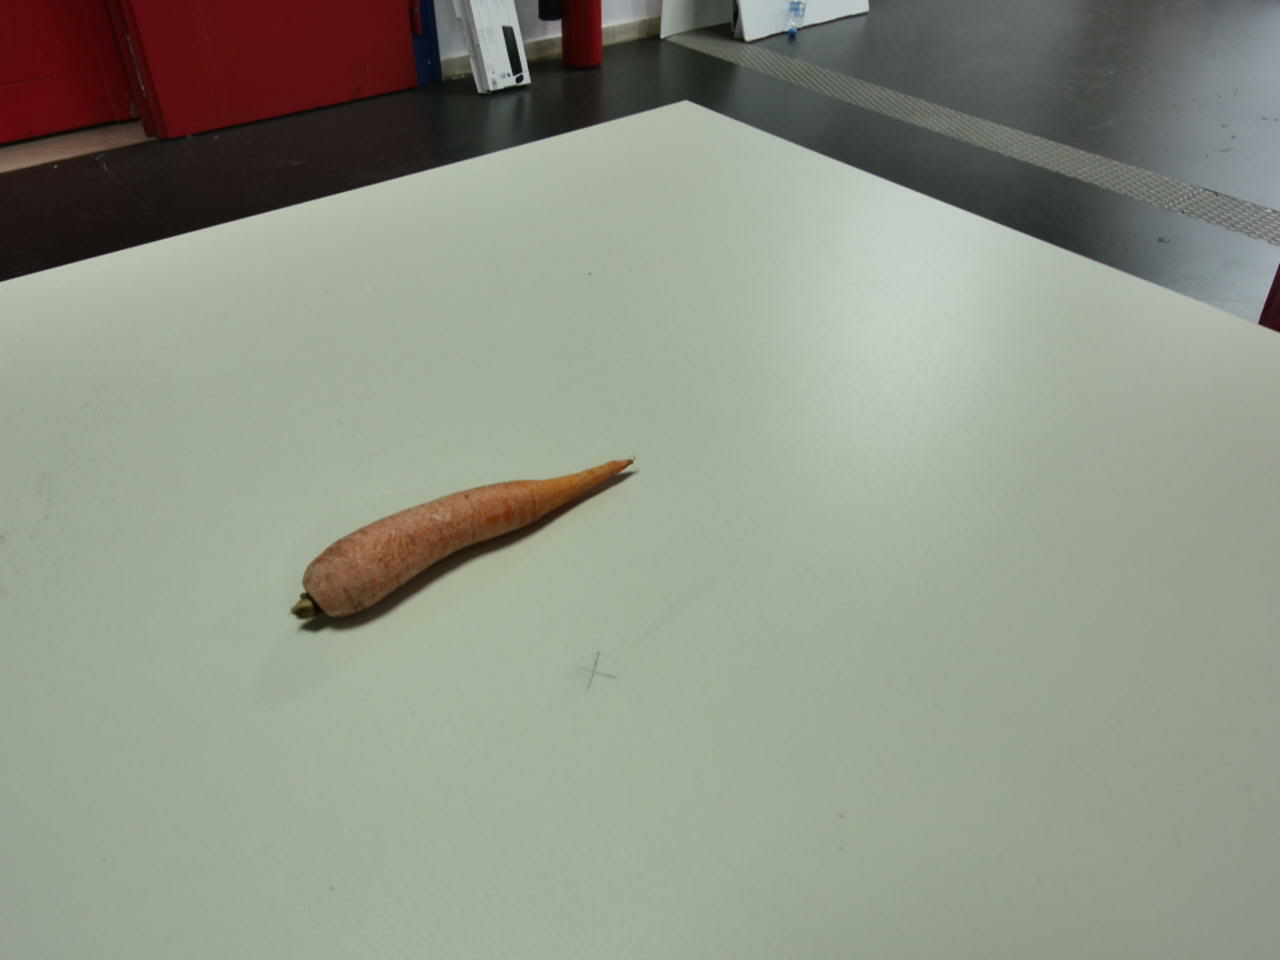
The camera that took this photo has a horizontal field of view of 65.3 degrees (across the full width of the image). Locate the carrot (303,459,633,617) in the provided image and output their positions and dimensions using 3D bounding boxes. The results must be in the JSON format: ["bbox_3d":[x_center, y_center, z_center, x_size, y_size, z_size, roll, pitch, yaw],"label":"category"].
[{"bbox_3d":[-0.072,0.015,0.436,0.163,0.029,0.031,-26,44,-31],"label":"carrot"}]
